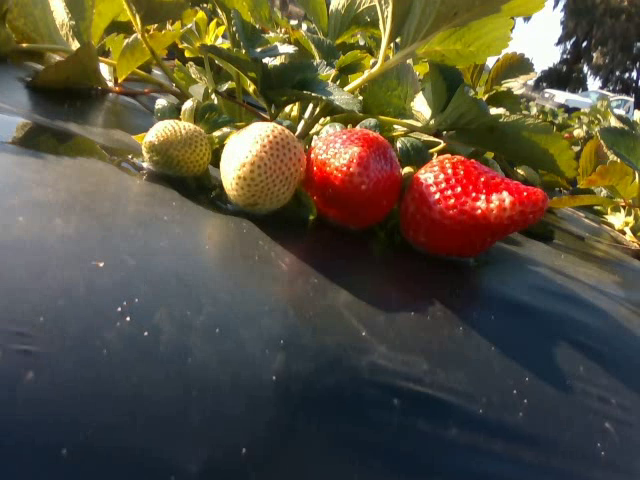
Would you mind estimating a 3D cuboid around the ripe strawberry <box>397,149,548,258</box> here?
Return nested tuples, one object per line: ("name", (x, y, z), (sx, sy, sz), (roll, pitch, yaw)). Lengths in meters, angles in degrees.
("ripe strawberry", (0.064, -0.013, 0.235), (0.056, 0.051, 0.067), (-30, 21, -36))

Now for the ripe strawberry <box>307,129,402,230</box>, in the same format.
("ripe strawberry", (0.013, -0.026, 0.226), (0.051, 0.043, 0.061), (40, 6, 1))
